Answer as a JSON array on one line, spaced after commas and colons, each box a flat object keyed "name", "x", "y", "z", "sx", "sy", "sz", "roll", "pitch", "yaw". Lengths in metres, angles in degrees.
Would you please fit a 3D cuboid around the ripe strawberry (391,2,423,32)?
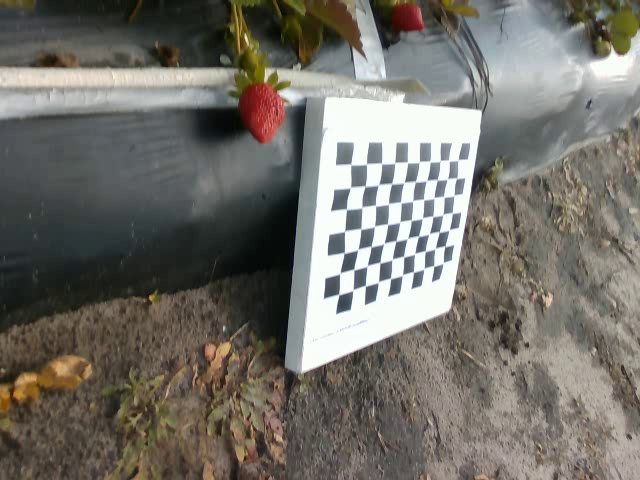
[{"name": "ripe strawberry", "x": 0.087, "y": -0.241, "z": 0.531, "sx": 0.037, "sy": 0.048, "sz": 0.031, "roll": 9, "pitch": -49, "yaw": -46}]

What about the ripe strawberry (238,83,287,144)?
[{"name": "ripe strawberry", "x": -0.056, "y": -0.094, "z": 0.360, "sx": 0.030, "sy": 0.053, "sz": 0.047, "roll": -11, "pitch": -36, "yaw": 30}]
